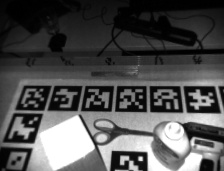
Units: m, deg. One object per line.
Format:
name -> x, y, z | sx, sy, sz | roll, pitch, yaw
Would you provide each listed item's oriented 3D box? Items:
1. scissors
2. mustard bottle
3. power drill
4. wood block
scissors -> 0.019, 0.124, 0.638 | 0.202, 0.016, 0.087 | 1, 53, 7
mustard bottle -> 0.145, 0.130, 0.526 | 0.058, 0.193, 0.095 | -36, 61, -14
power drill -> 0.196, 0.204, 0.543 | 0.183, 0.058, 0.187 | 11, 66, 13
wood block -> -0.076, 0.163, 0.521 | 0.091, 0.208, 0.089 | -26, 58, -9
